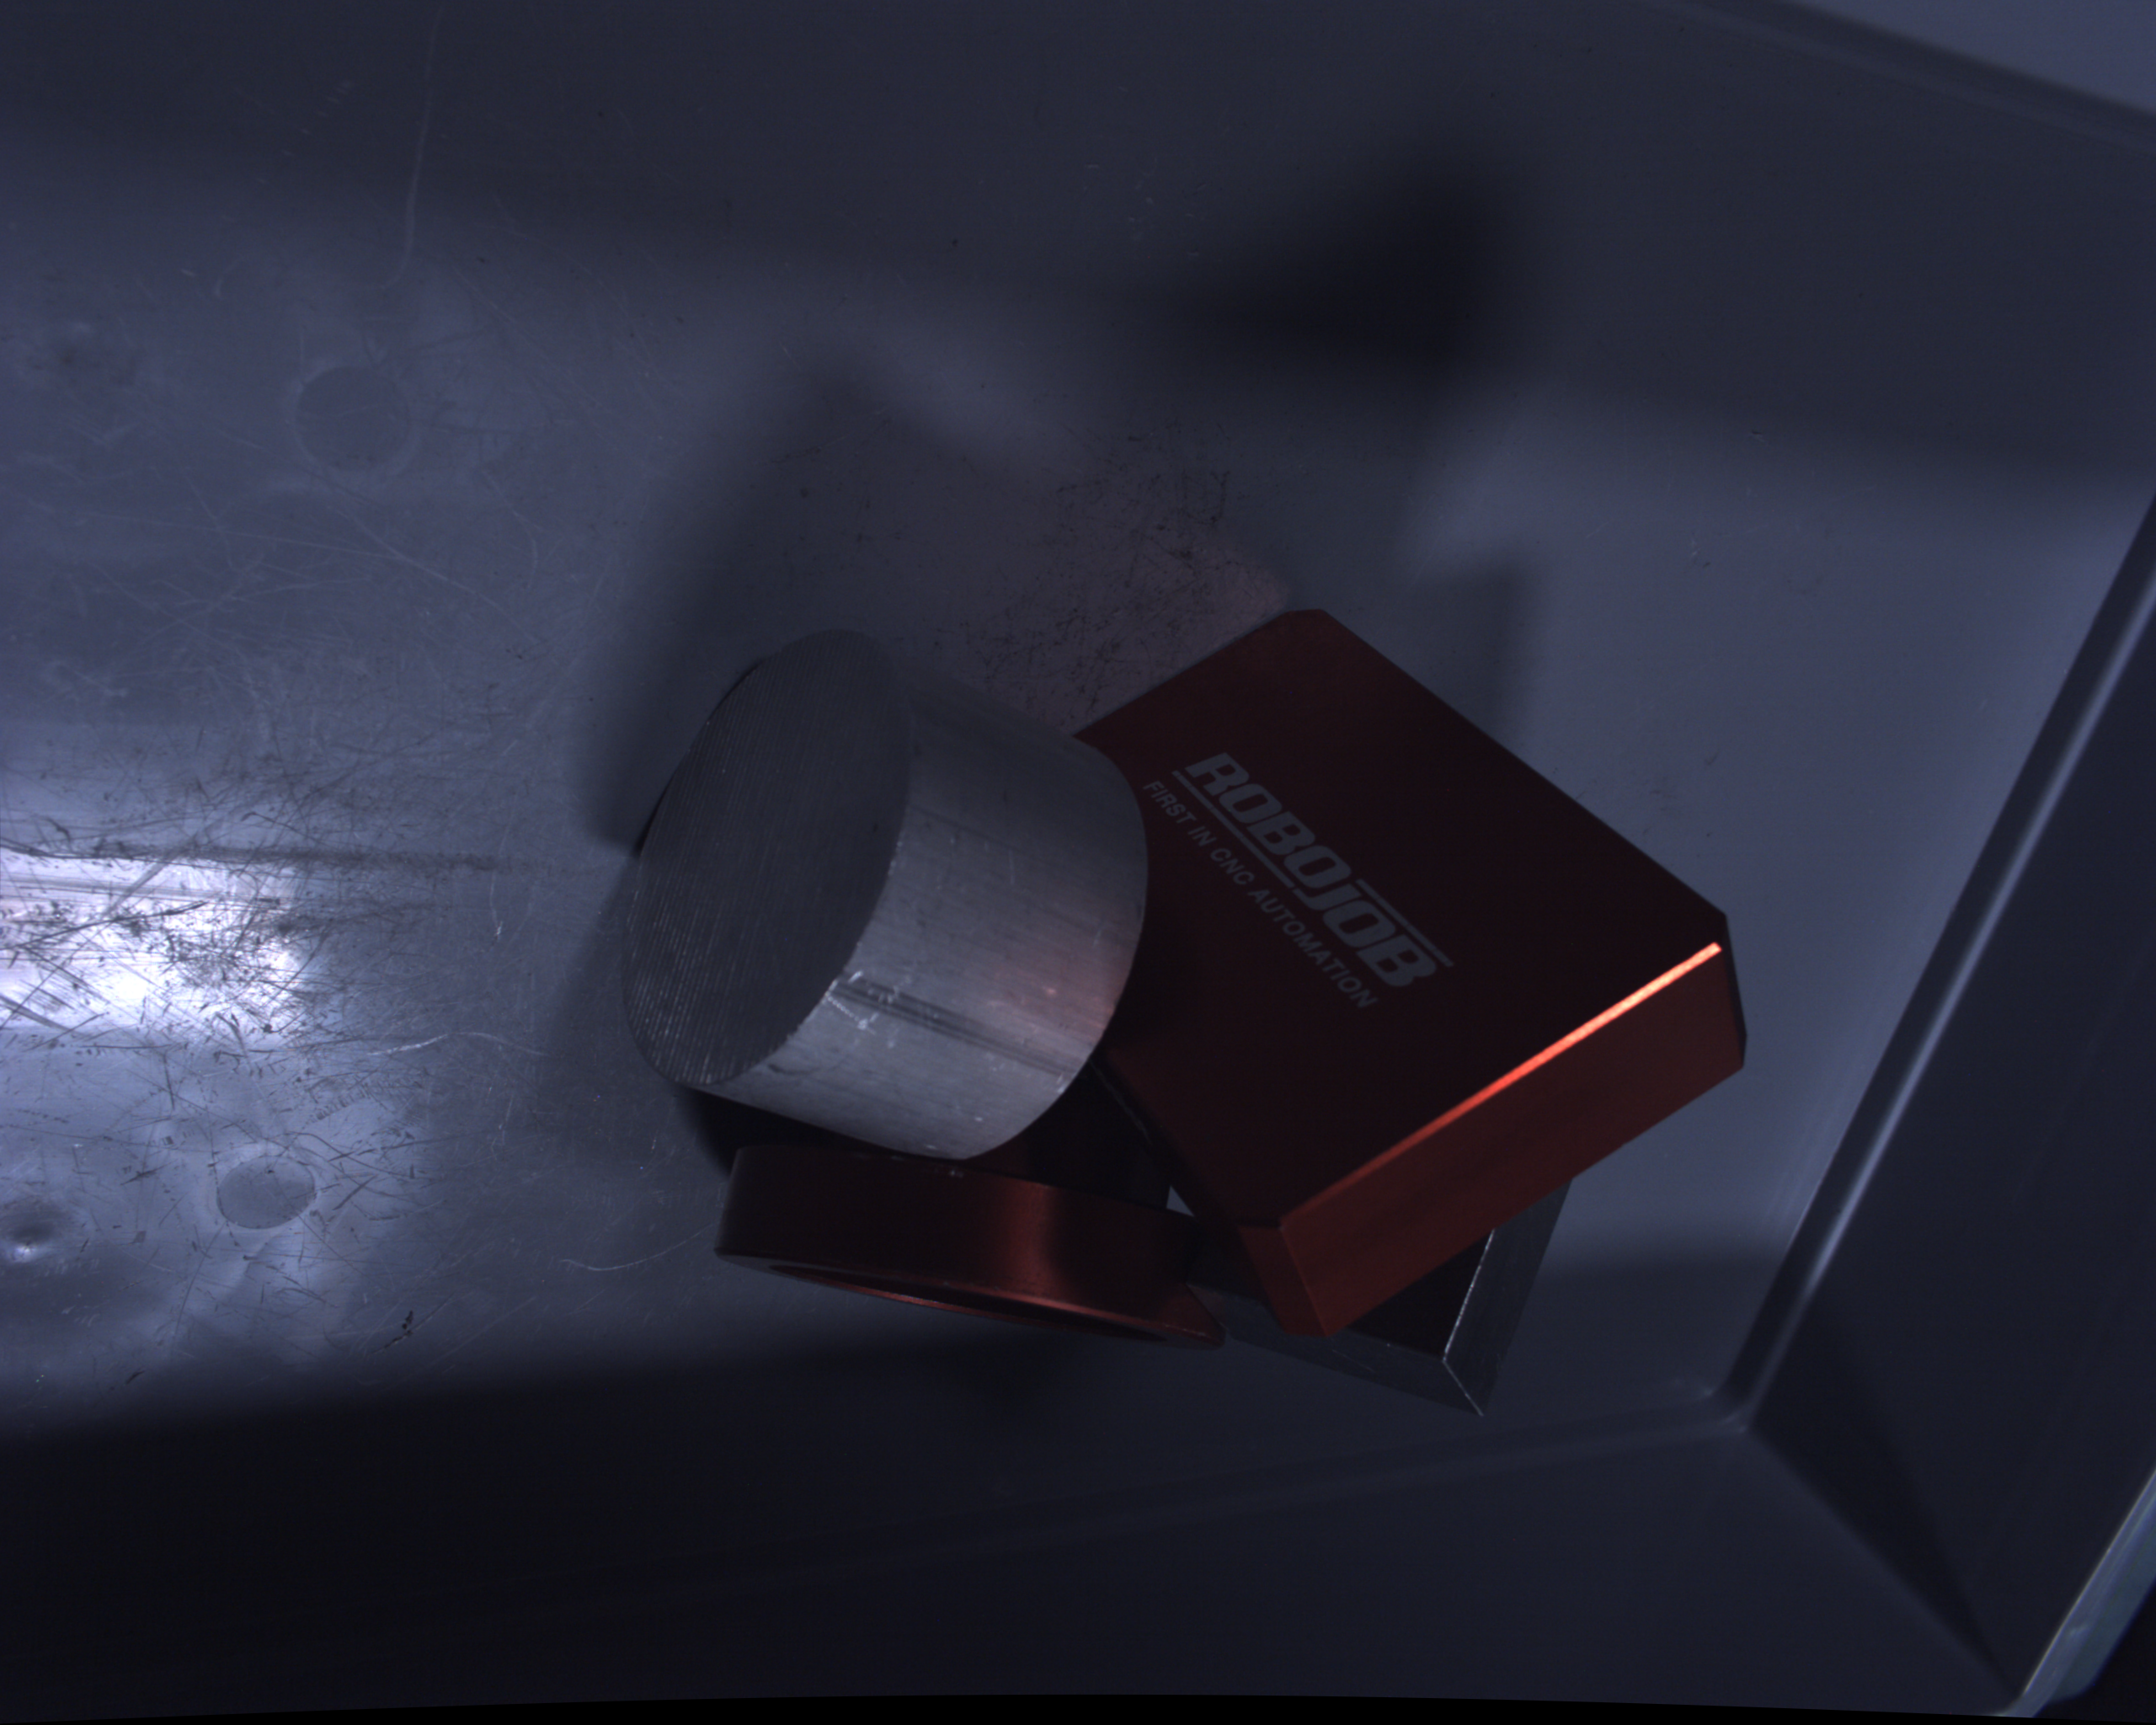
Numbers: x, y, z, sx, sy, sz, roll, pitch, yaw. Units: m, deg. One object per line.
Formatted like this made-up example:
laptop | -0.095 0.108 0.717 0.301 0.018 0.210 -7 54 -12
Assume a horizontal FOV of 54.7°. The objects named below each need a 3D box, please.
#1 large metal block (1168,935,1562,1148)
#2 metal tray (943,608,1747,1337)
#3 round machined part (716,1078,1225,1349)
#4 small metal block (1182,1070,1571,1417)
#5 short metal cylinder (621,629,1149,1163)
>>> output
large metal block | 0.058 0.027 0.431 0.081 0.050 0.079 -14 129 -21
metal tray | 0.041 0.012 0.369 0.090 0.130 0.030 -31 130 -9
round machined part | -0.017 0.065 0.404 0.099 0.098 0.042 22 71 -37
small metal block | 0.054 0.065 0.374 0.050 0.050 0.025 -62 142 -24
short metal cylinder | -0.034 0.007 0.358 0.050 0.080 0.080 25 105 -37
